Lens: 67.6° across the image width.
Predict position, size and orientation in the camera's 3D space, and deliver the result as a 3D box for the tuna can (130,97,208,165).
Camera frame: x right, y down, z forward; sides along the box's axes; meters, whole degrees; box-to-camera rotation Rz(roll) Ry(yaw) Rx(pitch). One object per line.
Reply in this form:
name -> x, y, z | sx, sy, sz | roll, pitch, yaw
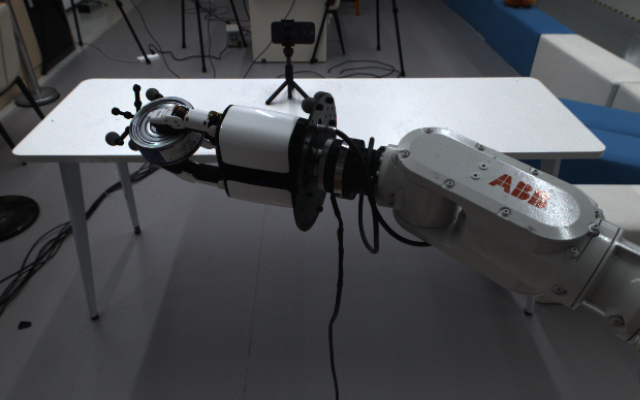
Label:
tuna can -> -0.189, -0.087, 0.602 | 0.085, 0.034, 0.085 | -3, 59, 6
